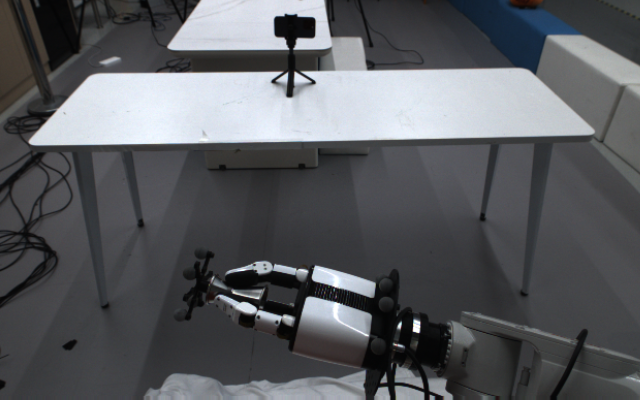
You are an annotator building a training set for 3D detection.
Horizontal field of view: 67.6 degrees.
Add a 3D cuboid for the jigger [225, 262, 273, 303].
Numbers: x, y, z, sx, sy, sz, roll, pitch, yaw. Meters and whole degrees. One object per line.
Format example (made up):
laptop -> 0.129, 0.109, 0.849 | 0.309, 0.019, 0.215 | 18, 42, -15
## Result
jigger -> -0.097, 0.118, 0.608 | 0.071, 0.043, 0.043 | 14, 36, 5
